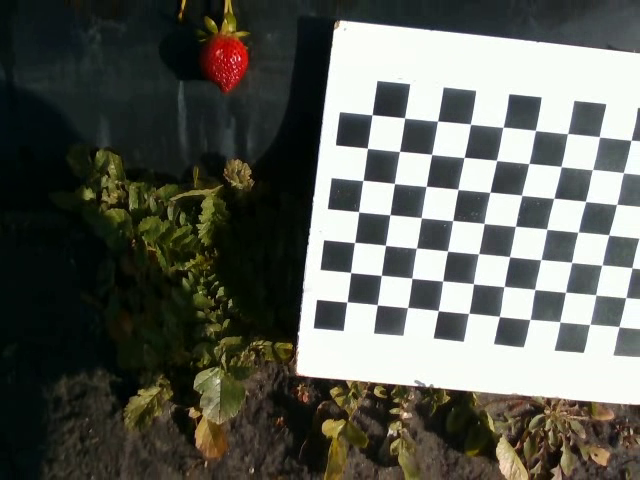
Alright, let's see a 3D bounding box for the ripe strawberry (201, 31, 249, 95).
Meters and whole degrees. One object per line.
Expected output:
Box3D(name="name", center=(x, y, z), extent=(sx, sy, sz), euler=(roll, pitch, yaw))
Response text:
Box3D(name="ripe strawberry", center=(-0.067, -0.120, 0.396), extent=(0.040, 0.044, 0.036), euler=(-13, -2, 2))
